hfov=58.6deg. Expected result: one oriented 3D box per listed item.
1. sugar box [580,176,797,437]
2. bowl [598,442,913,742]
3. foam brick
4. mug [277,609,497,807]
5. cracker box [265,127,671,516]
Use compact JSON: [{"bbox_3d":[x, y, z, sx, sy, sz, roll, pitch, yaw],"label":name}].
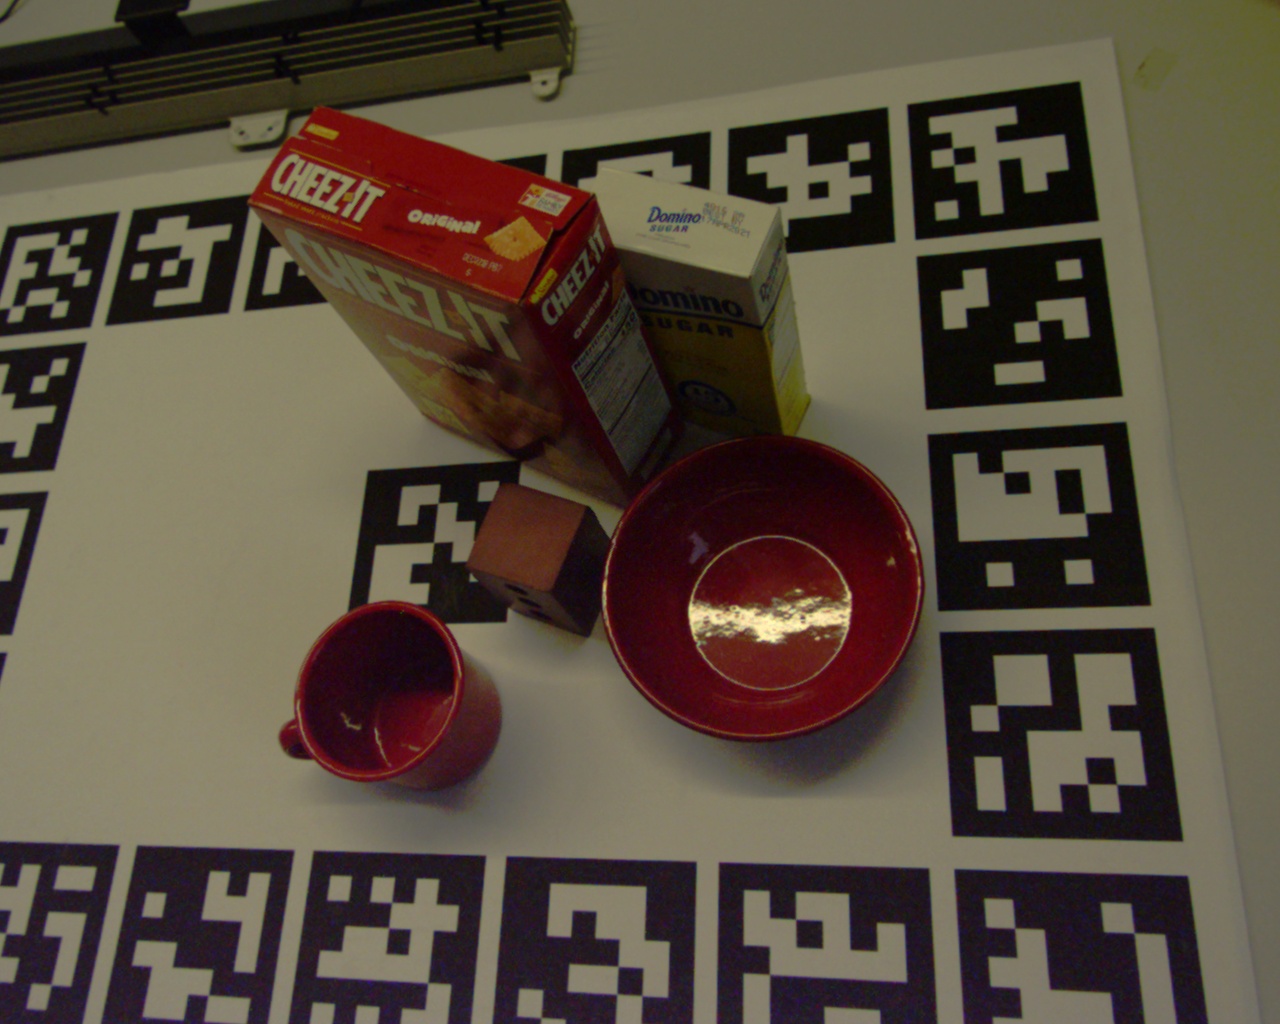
[{"bbox_3d":[0.027,-0.106,0.622,0.094,0.175,0.045,17,73,21],"label":"sugar box"},{"bbox_3d":[0.062,0.046,0.606,0.163,0.055,0.162,-6,68,13],"label":"bowl"},{"bbox_3d":[-0.056,0.026,0.651,0.053,0.077,0.051,11,71,19],"label":"foam brick"},{"bbox_3d":[-0.140,0.114,0.627,0.118,0.080,0.094,-13,57,12],"label":"mug"},{"bbox_3d":[-0.085,-0.093,0.629,0.166,0.212,0.072,26,74,22],"label":"cracker box"}]
